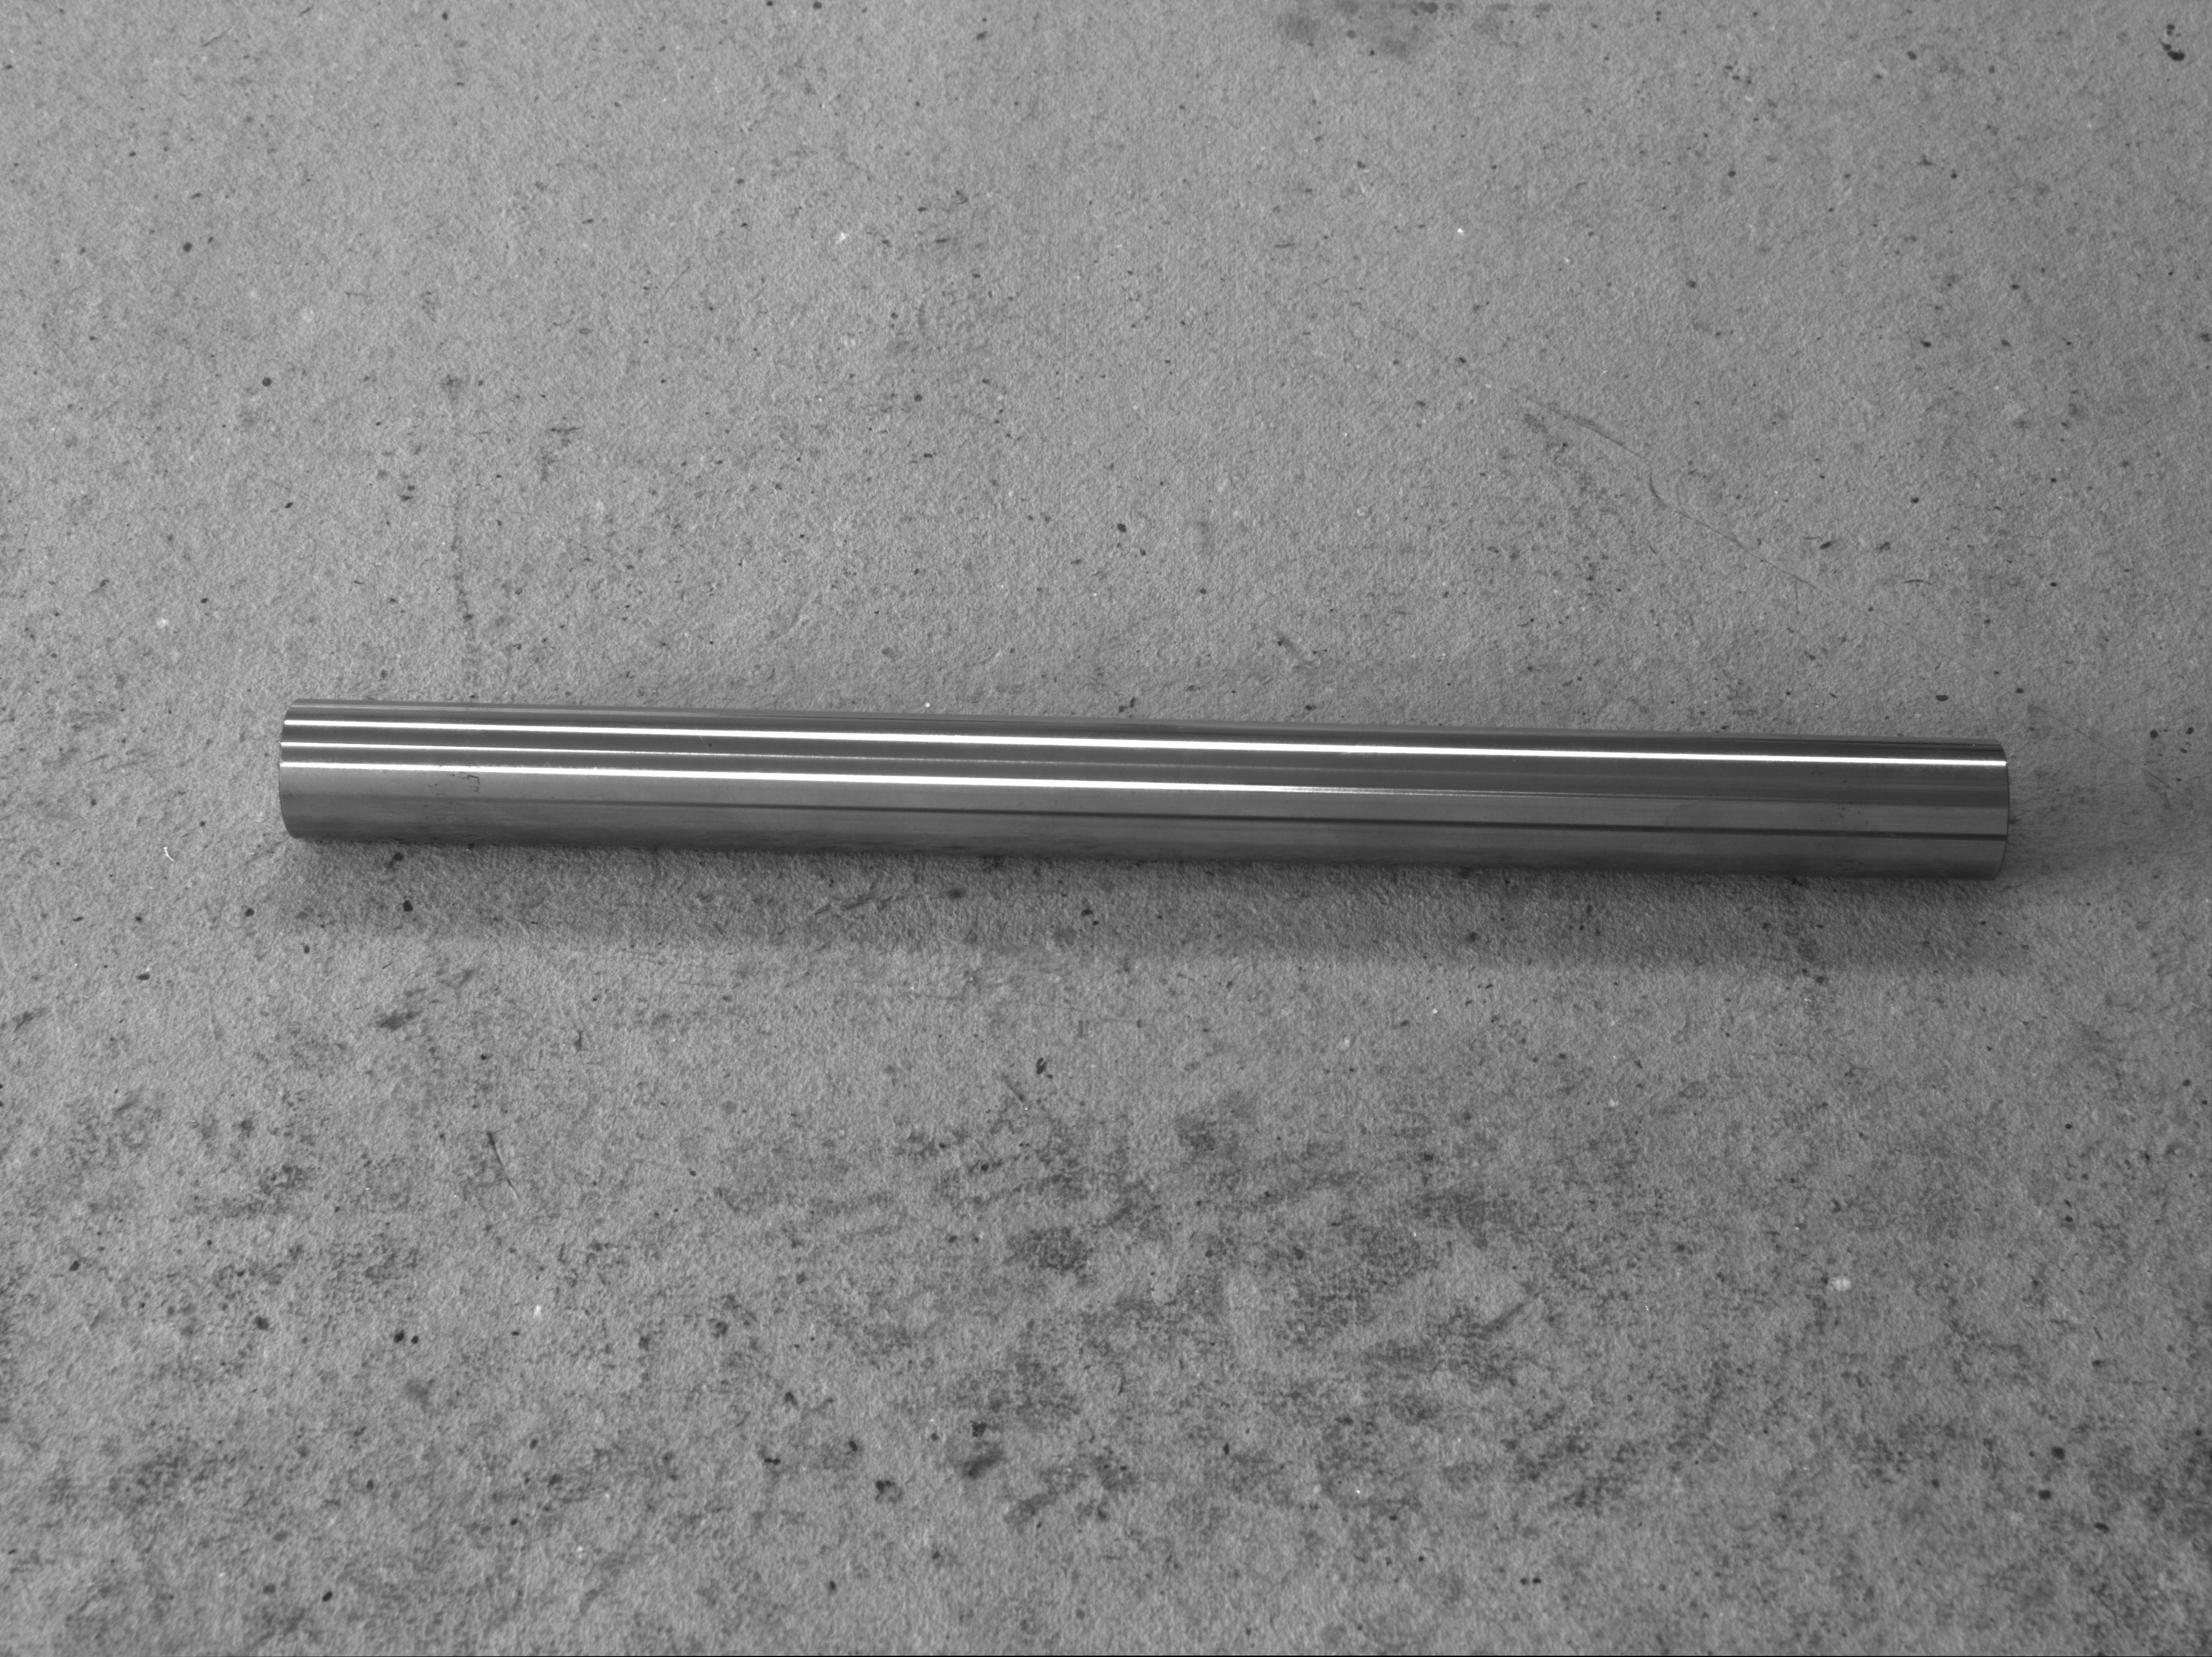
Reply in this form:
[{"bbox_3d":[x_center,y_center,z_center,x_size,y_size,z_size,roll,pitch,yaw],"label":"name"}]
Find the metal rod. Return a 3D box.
[{"bbox_3d":[0.005,-0.007,0.648,0.300,0.025,0.025,1,50,1],"label":"metal rod"}]
